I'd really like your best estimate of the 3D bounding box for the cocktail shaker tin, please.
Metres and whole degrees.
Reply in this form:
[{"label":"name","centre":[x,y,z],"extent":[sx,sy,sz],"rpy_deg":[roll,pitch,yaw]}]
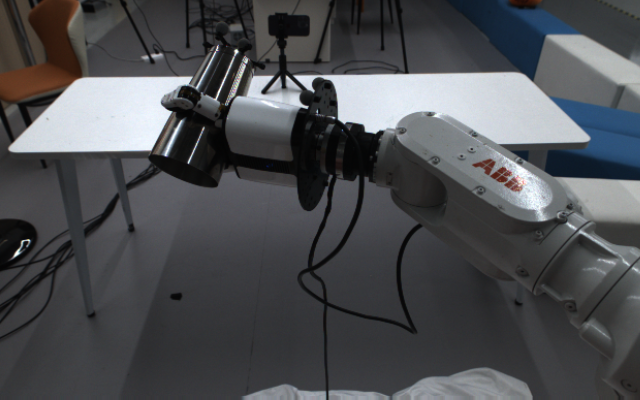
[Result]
[{"label":"cocktail shaker tin","centre":[-0.145,-0.111,0.628],"extent":[0.093,0.093,0.170],"rpy_deg":[14,73,17]}]
